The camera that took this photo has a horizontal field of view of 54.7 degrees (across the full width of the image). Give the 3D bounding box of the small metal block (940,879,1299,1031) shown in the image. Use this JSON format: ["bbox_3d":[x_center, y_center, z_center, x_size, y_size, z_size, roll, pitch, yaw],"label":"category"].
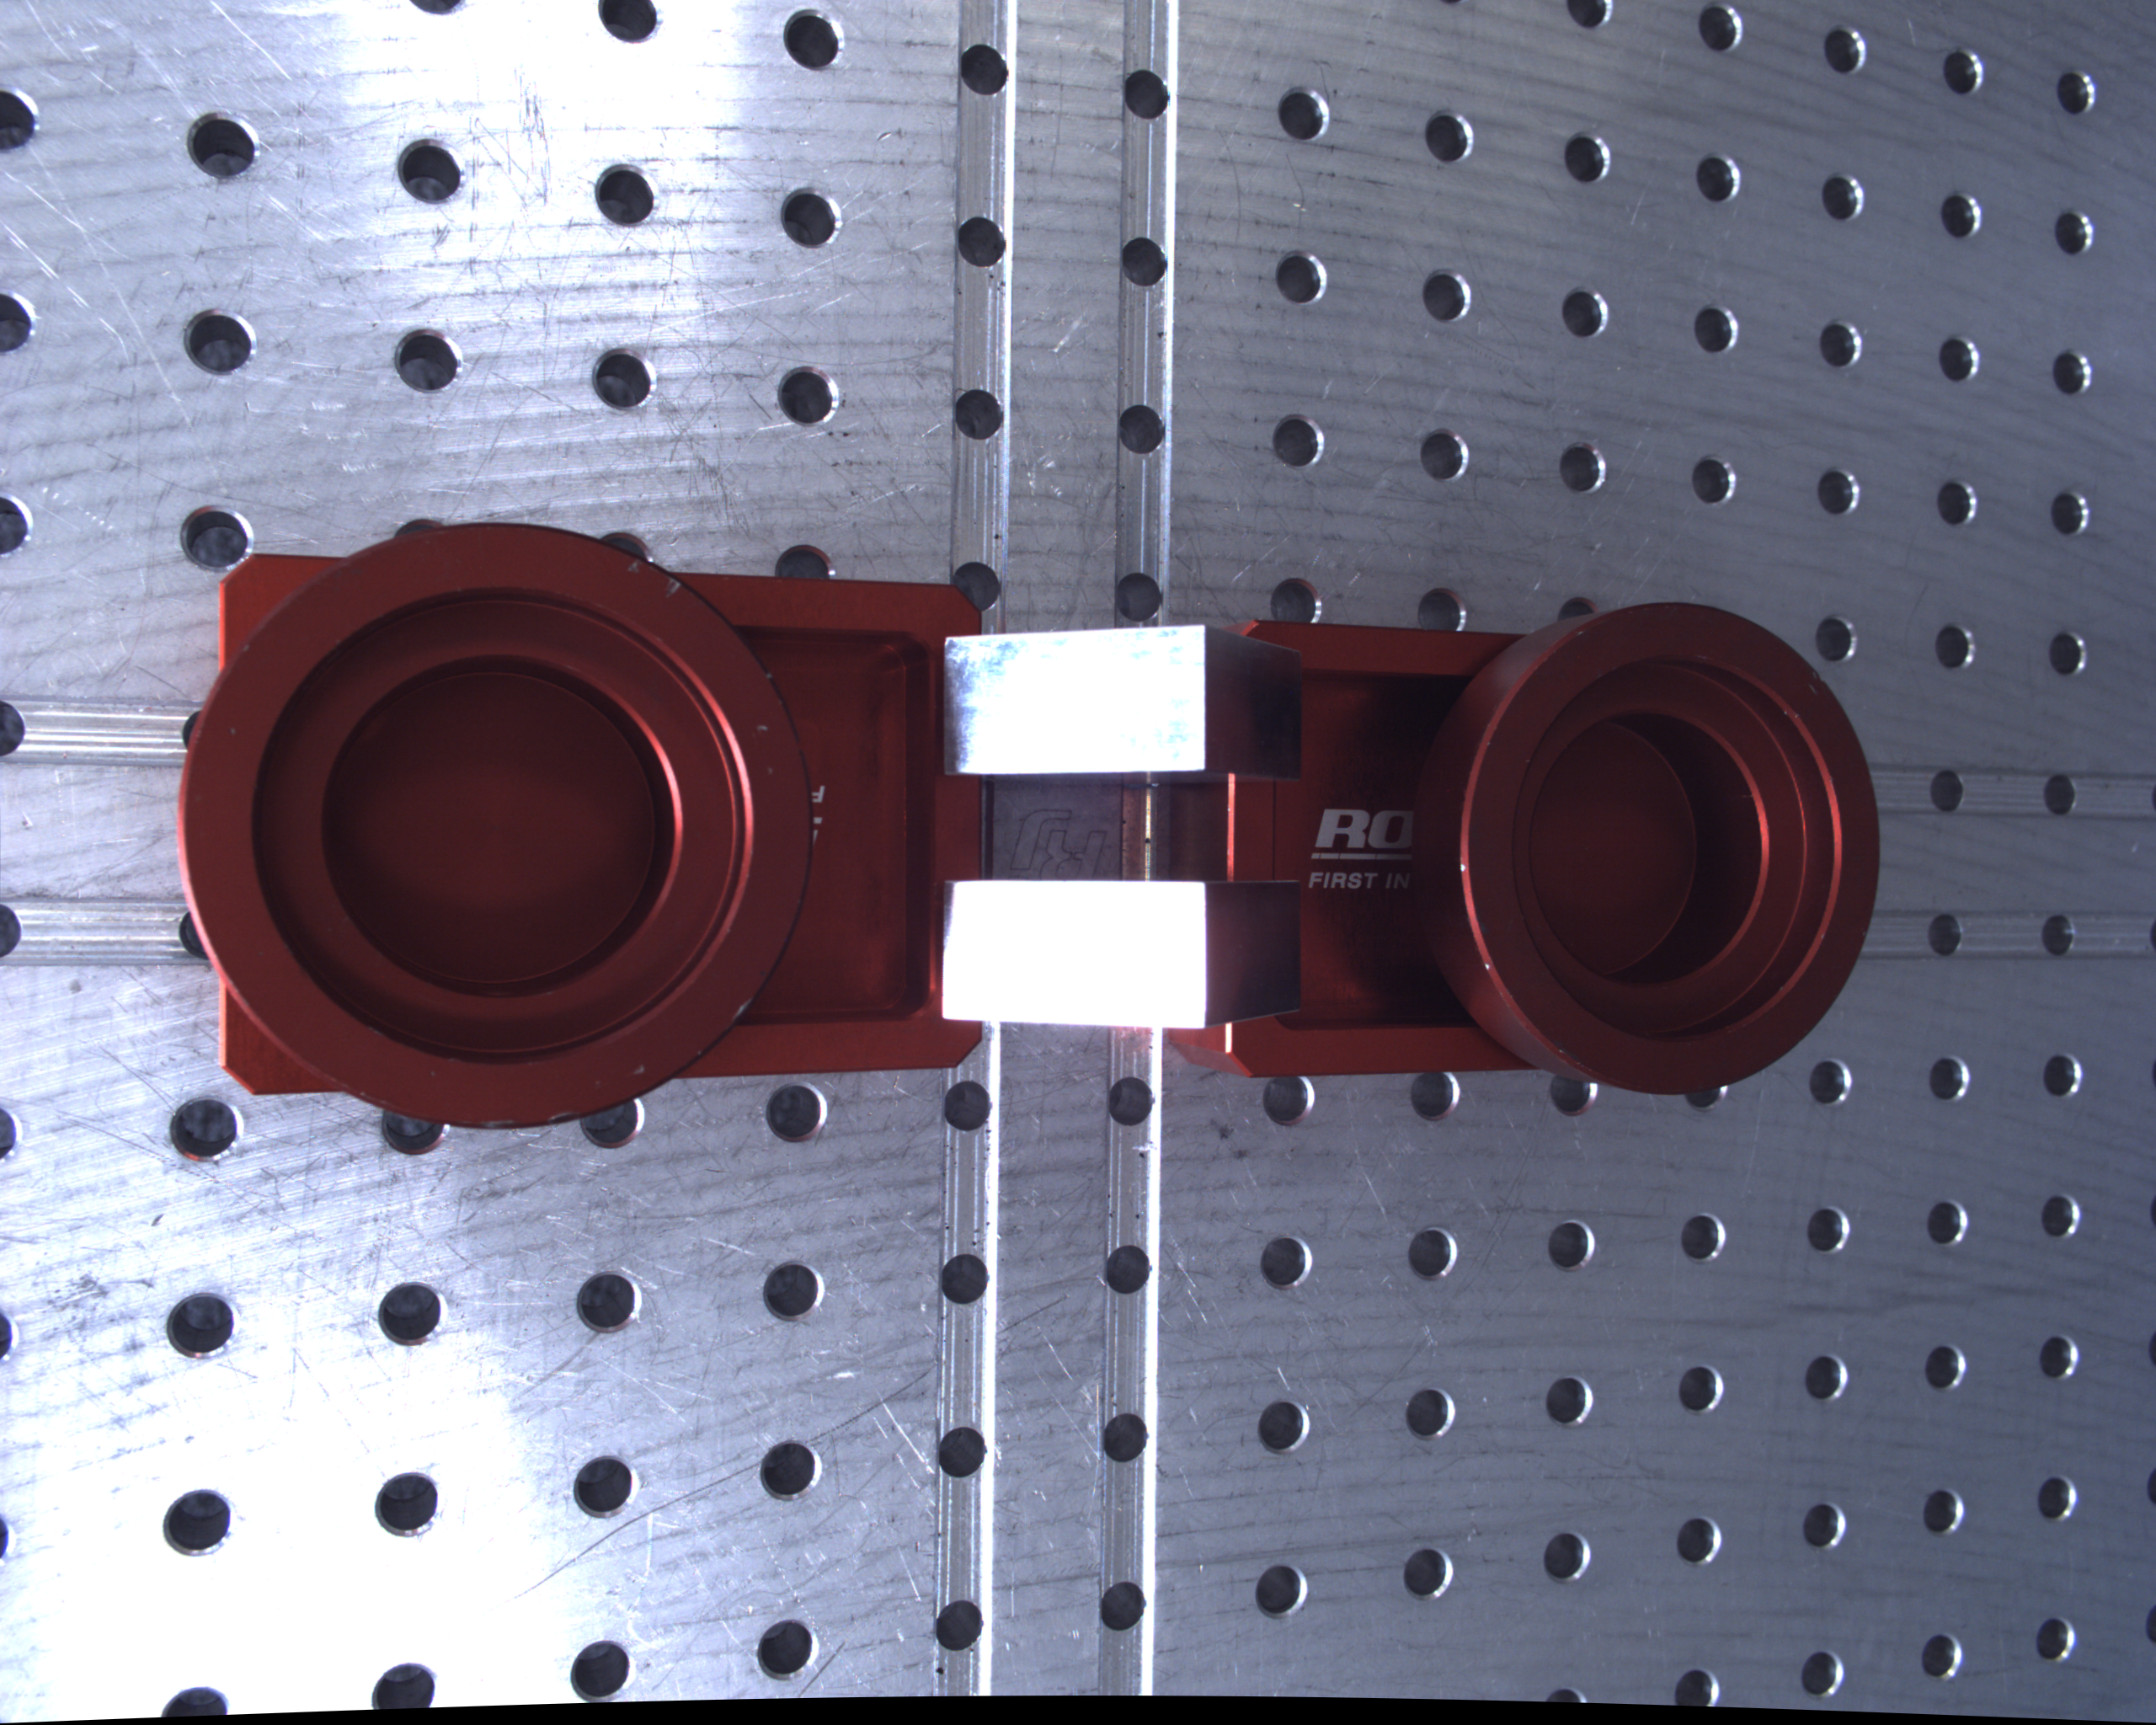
[{"bbox_3d":[0.009,0.016,0.387,0.050,0.050,0.025,1,90,24],"label":"small metal block"}]

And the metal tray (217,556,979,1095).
[{"bbox_3d":[-0.085,-0.007,0.380,0.131,0.030,0.089,-1,92,-20],"label":"metal tray"}]

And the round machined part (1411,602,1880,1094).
[{"bbox_3d":[0.112,-0.003,0.431,0.099,0.042,0.097,0,90,-20],"label":"round machined part"}]

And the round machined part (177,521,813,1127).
[{"bbox_3d":[-0.098,-0.006,0.354,0.099,0.042,0.097,0,90,-20],"label":"round machined part"}]

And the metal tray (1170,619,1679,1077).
[{"bbox_3d":[0.086,-0.002,0.442,0.131,0.030,0.089,1,90,-20],"label":"metal tray"}]

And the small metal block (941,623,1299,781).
[{"bbox_3d":[0.009,-0.028,0.387,0.050,0.050,0.025,1,90,24],"label":"small metal block"}]
